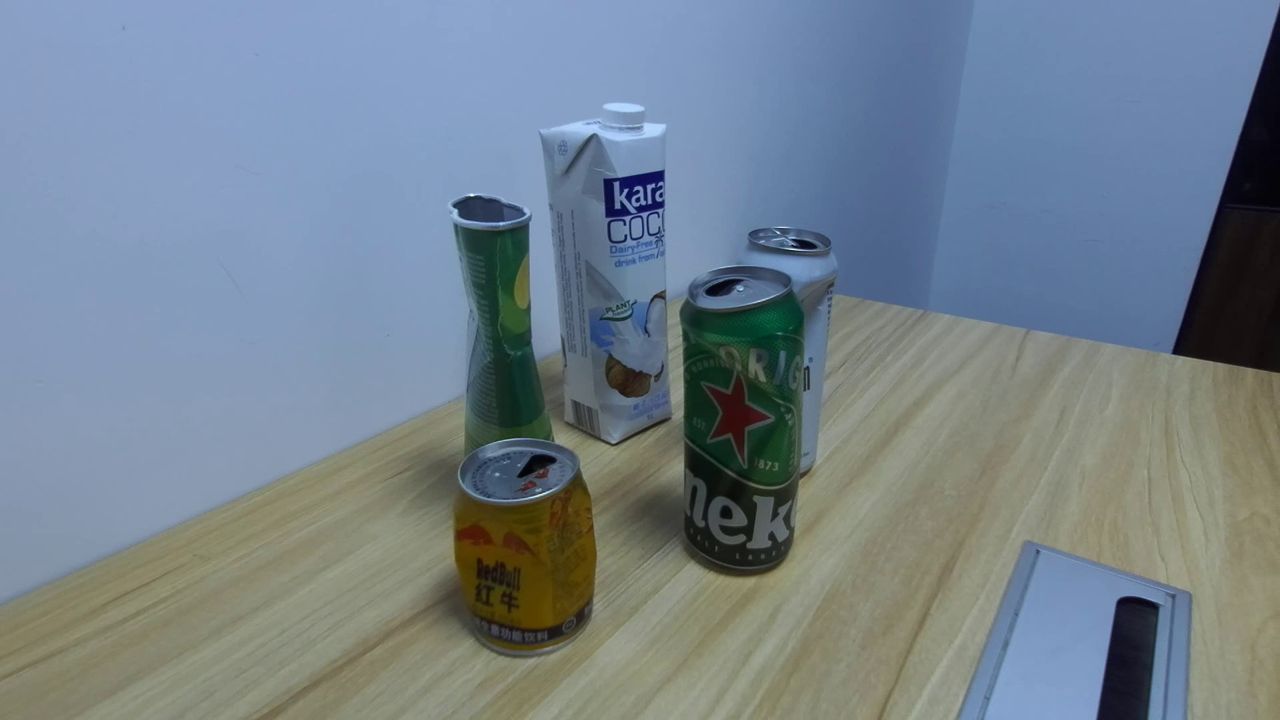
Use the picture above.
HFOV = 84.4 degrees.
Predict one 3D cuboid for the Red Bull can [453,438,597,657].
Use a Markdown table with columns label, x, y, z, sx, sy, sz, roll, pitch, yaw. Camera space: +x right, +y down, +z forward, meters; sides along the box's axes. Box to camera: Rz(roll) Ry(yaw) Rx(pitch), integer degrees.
| label | x | y | z | sx | sy | sz | roll | pitch | yaw |
| --- | --- | --- | --- | --- | --- | --- | --- | --- | --- |
| Red Bull can | -0.057 | 0.093 | 0.363 | 0.072 | 0.092 | 0.072 | -1 | 23 | 1 |

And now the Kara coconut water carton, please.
| label | x | y | z | sx | sy | sz | roll | pitch | yaw |
| --- | --- | --- | --- | --- | --- | --- | --- | --- | --- |
| Kara coconut water carton | -0.021 | -0.063 | 0.533 | 0.077 | 0.245 | 0.075 | -20 | 27 | -38 |

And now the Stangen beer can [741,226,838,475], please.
| label | x | y | z | sx | sy | sz | roll | pitch | yaw |
| --- | --- | --- | --- | --- | --- | --- | --- | --- | --- |
| Stangen beer can | 0.097 | -0.003 | 0.484 | 0.070 | 0.173 | 0.069 | 1 | 26 | 2 |

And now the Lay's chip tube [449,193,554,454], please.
| label | x | y | z | sx | sy | sz | roll | pitch | yaw |
| --- | --- | --- | --- | --- | --- | --- | --- | --- | --- |
| Lay's chip tube | -0.085 | 0.007 | 0.429 | 0.074 | 0.199 | 0.069 | 11 | 27 | 27 |

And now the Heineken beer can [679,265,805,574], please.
| label | x | y | z | sx | sy | sz | roll | pitch | yaw |
| --- | --- | --- | --- | --- | --- | --- | --- | --- | --- |
| Heineken beer can | 0.056 | 0.036 | 0.396 | 0.069 | 0.168 | 0.068 | 1 | 25 | 12 |
